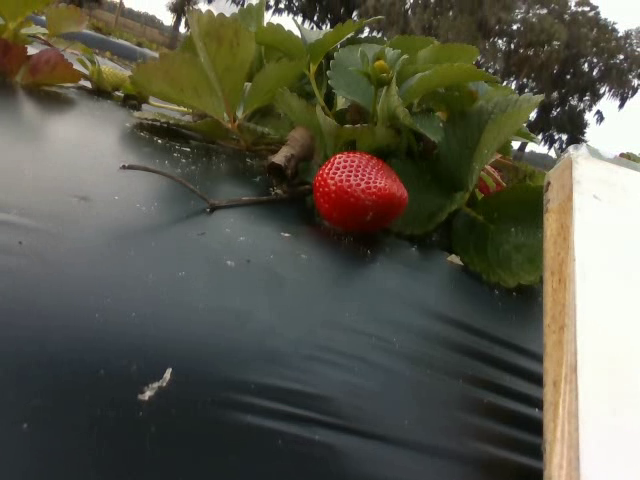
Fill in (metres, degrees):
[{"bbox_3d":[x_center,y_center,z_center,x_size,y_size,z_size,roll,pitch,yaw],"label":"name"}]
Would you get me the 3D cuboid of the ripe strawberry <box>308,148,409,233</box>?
[{"bbox_3d":[0.015,-0.021,0.217,0.037,0.037,0.046,-30,25,-19],"label":"ripe strawberry"}]
